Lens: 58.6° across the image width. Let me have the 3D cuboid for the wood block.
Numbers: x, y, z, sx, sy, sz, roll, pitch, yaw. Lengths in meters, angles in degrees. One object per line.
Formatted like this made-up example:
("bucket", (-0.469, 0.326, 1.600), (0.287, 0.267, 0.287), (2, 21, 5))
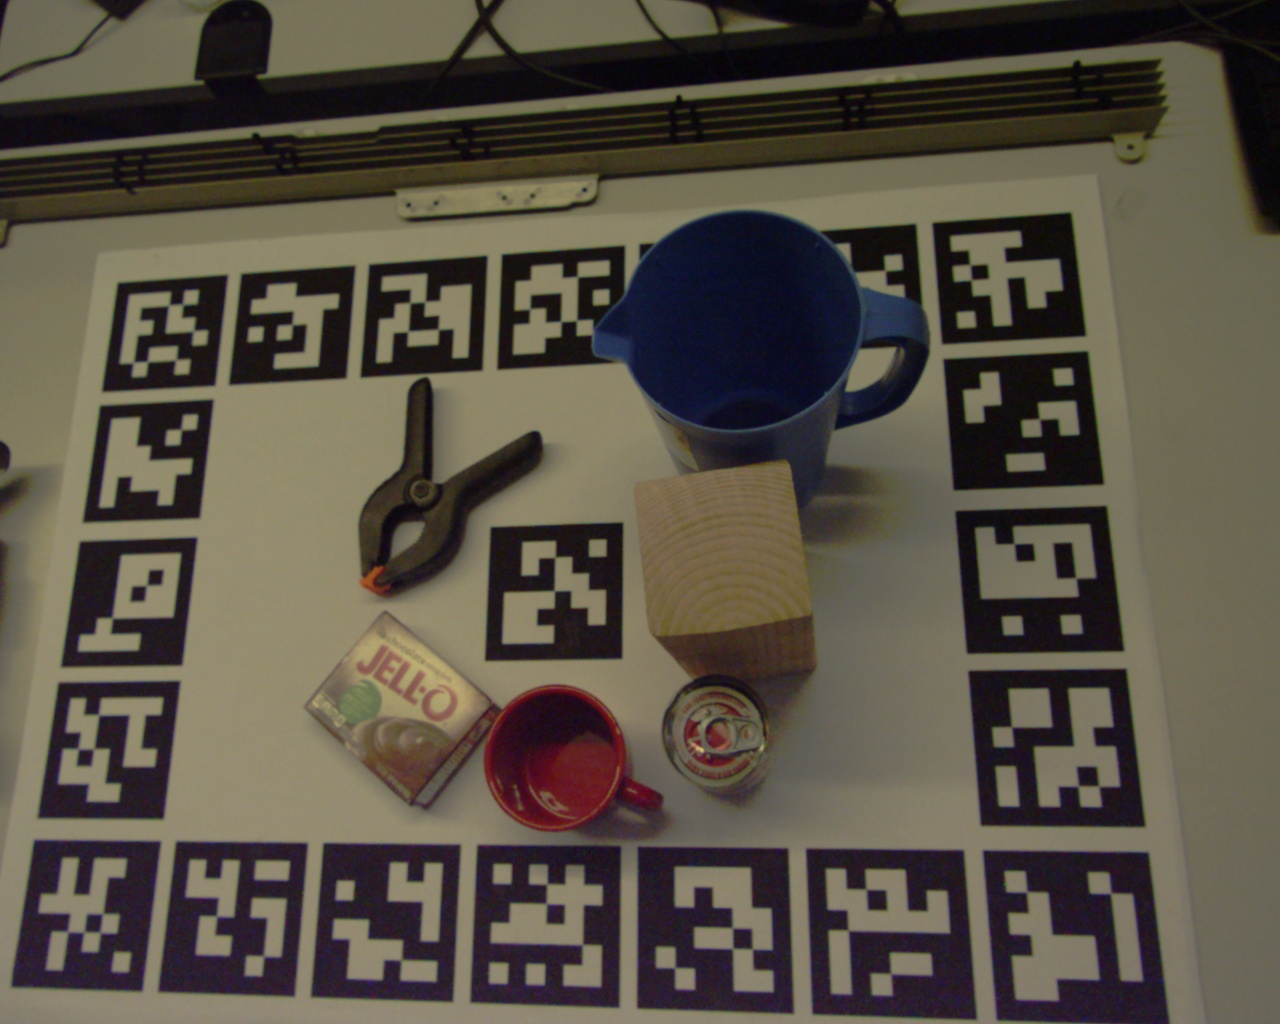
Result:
("wood block", (0.057, 0.050, 0.738), (0.090, 0.205, 0.091), (-4, 72, 4))

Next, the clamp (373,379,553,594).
("clamp", (-0.157, -0.011, 0.893), (0.122, 0.036, 0.165), (28, 80, 9))

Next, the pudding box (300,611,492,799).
("pudding box", (-0.180, 0.143, 0.845), (0.115, 0.038, 0.090), (36, 85, 19))

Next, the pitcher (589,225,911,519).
("pitcher", (0.080, -0.072, 0.755), (0.190, 0.240, 0.133), (-3, 71, 11))

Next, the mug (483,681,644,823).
("mug", (-0.044, 0.177, 0.784), (0.118, 0.081, 0.093), (34, 79, 19))

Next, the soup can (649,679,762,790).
("soup can", (0.047, 0.151, 0.764), (0.068, 0.101, 0.068), (-3, 75, 9))
